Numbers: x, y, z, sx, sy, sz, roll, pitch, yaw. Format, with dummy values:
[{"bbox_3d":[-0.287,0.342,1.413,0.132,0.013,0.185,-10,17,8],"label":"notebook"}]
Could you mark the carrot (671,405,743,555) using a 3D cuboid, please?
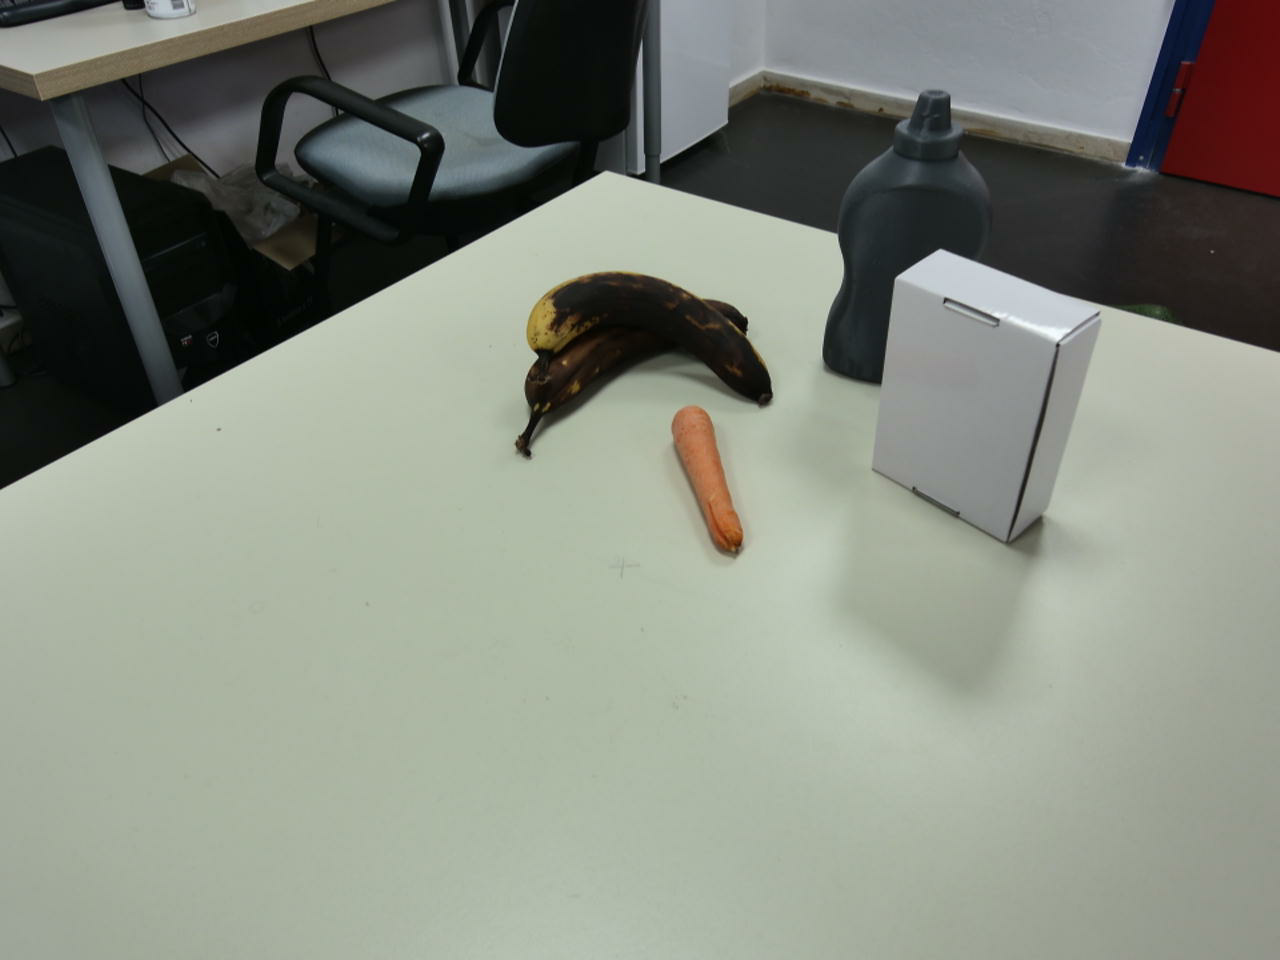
[{"bbox_3d":[0.042,-0.005,0.645,0.030,0.032,0.136,-5,38,-7],"label":"carrot"}]
